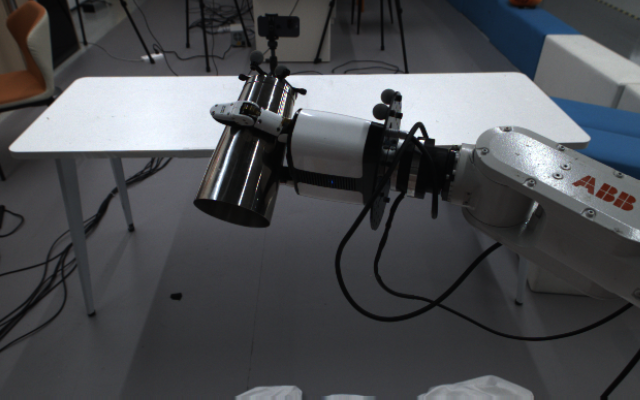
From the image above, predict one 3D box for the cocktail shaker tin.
[{"bbox_3d":[-0.082,-0.061,0.585,0.093,0.093,0.170,11,71,12],"label":"cocktail shaker tin"}]
